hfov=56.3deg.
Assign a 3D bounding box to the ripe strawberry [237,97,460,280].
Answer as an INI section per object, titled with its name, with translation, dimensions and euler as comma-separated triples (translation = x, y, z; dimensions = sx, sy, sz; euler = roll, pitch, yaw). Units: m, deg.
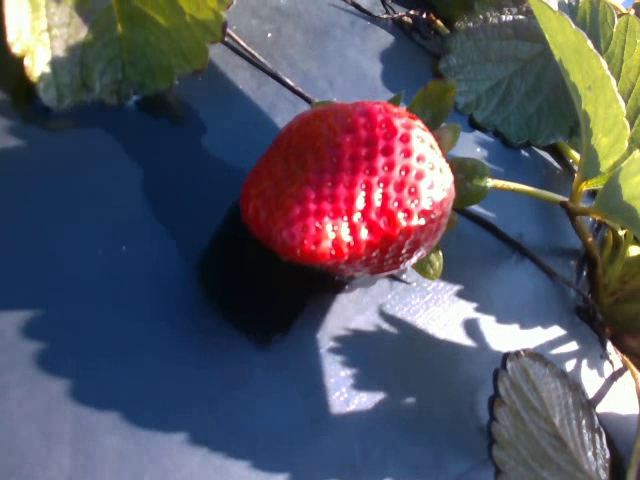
[ripe strawberry]
translation = 0.004, -0.007, 0.115
dimensions = 0.044, 0.042, 0.055
euler = 3, 23, 33
